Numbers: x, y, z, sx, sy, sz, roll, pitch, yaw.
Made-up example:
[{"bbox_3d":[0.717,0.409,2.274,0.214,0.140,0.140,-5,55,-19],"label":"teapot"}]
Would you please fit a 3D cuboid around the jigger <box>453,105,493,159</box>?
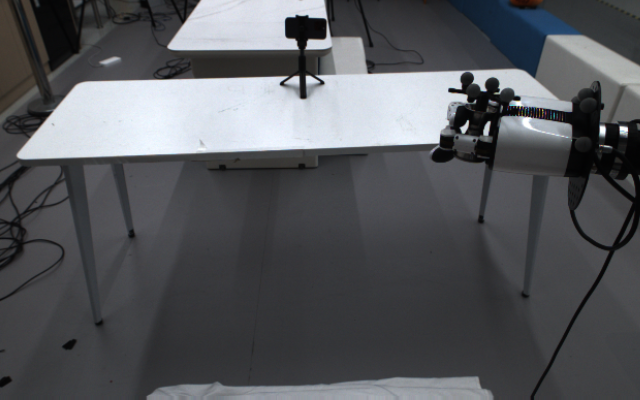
[{"bbox_3d":[0.205,-0.089,0.639,0.043,0.071,0.043,6,26,-3],"label":"jigger"}]
